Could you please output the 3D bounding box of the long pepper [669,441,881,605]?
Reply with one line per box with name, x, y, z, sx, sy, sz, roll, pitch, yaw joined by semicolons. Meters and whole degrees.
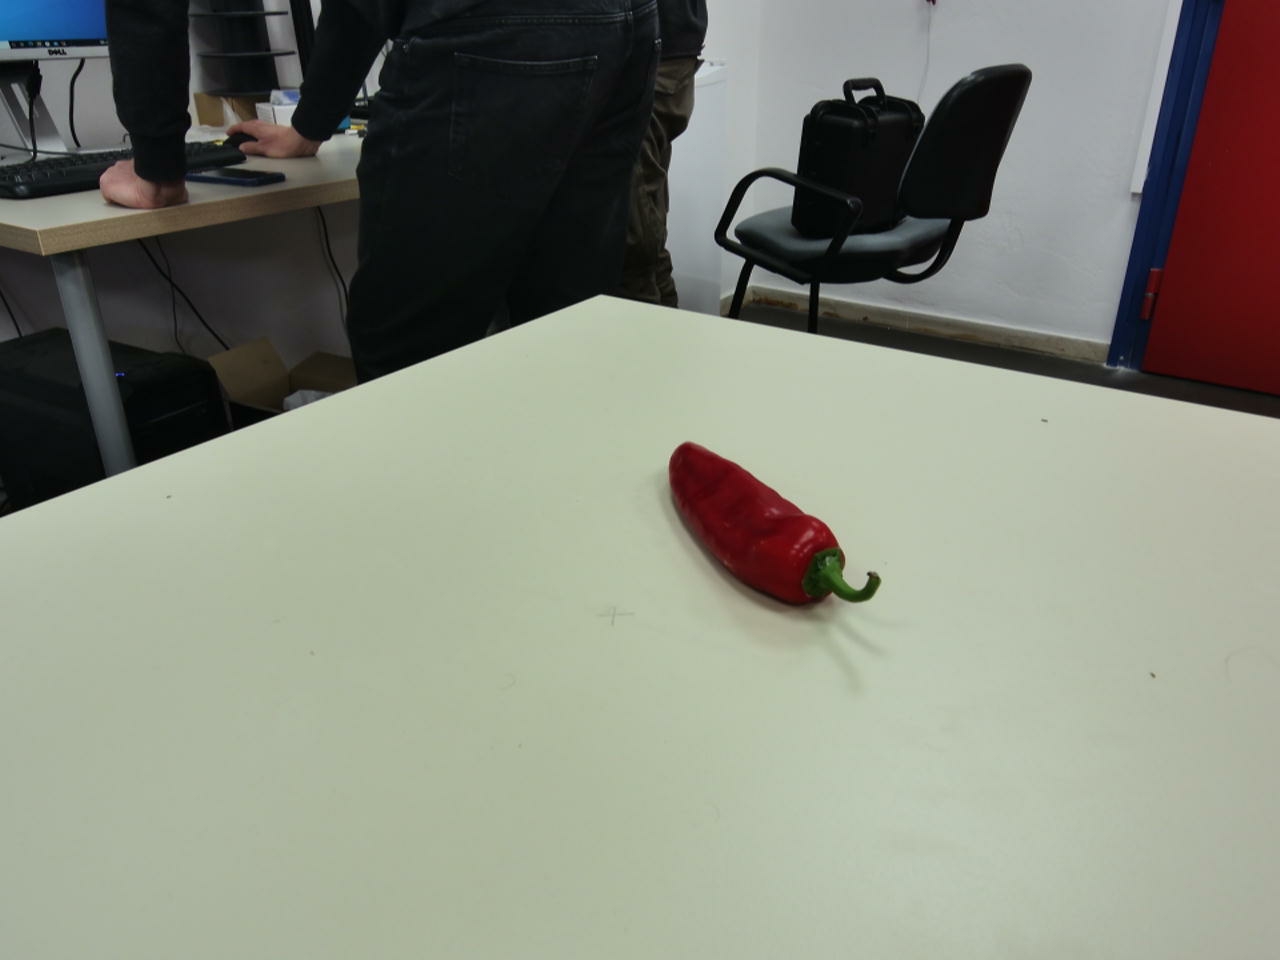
long pepper;0.058;0.019;0.537;0.050;0.043;0.211;-9;26;-19
